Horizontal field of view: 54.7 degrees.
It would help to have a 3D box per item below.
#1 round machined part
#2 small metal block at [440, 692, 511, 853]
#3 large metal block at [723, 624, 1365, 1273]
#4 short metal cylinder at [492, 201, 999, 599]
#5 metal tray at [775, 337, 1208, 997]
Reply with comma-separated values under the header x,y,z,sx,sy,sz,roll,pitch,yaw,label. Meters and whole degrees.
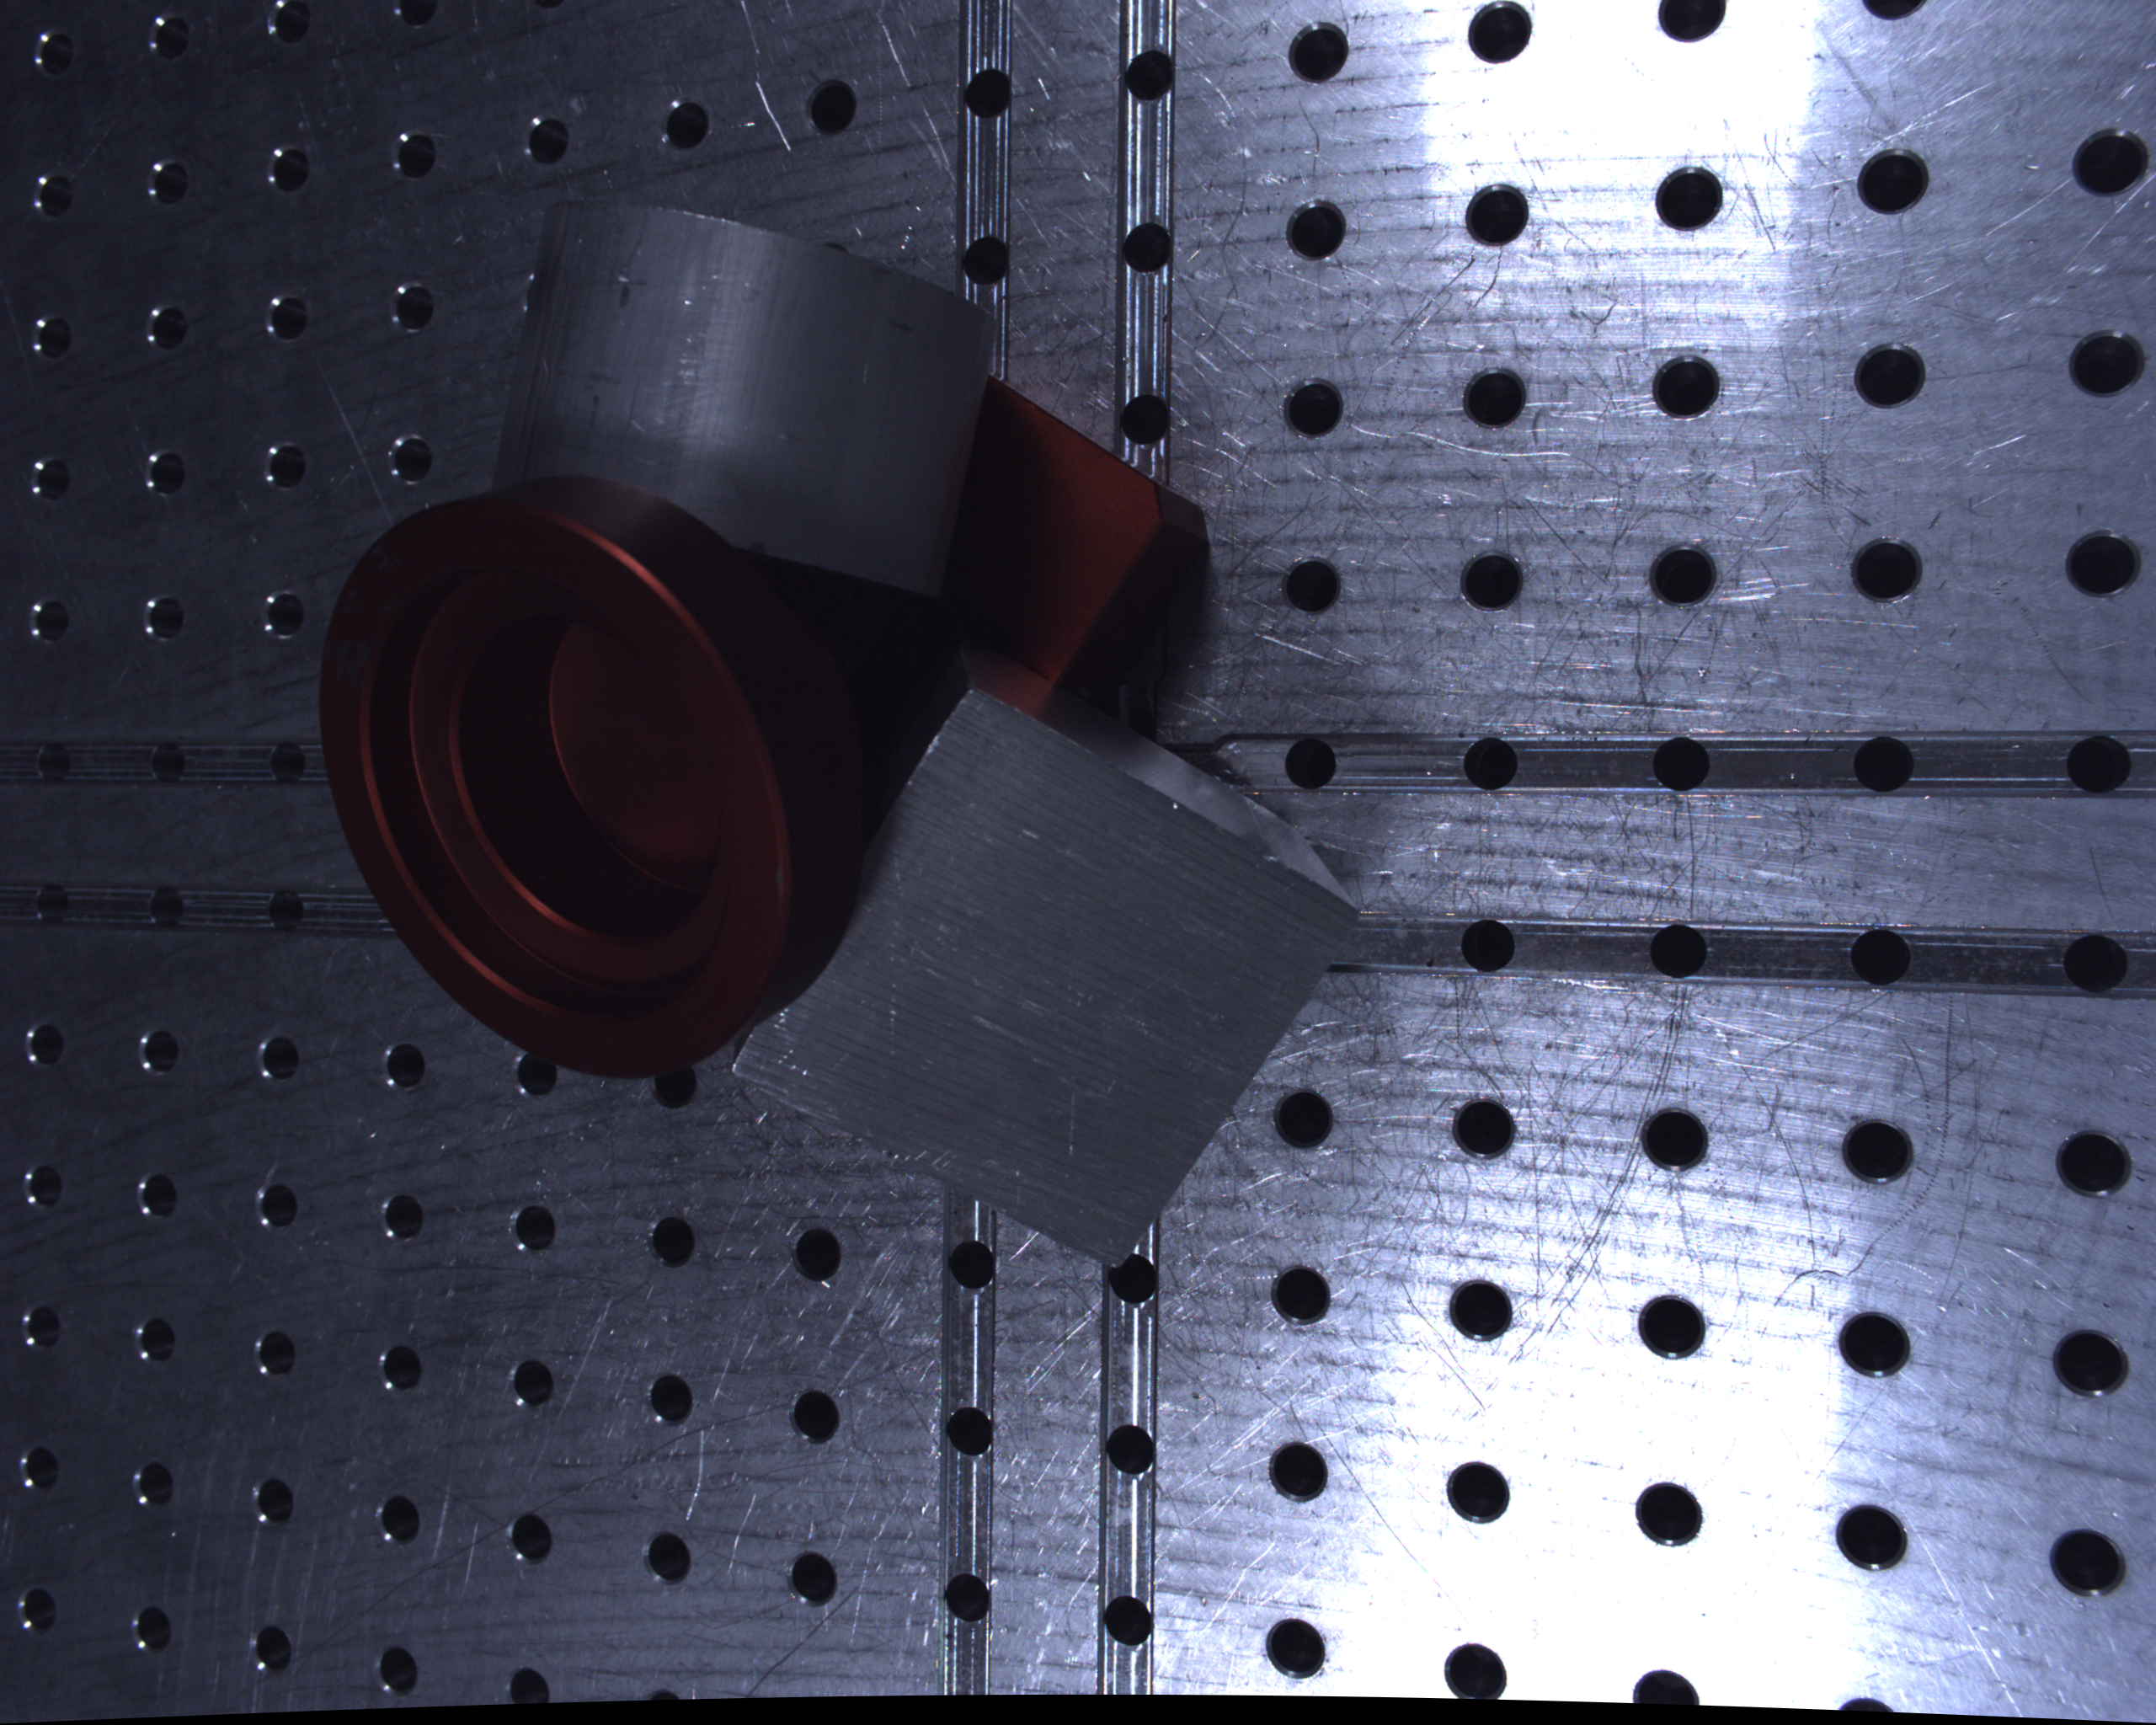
x,y,z,sx,sy,sz,roll,pitch,yaw,label
-0.076,-0.017,0.350,0.098,0.042,0.097,12,116,27,round machined part
-0.105,-0.027,0.402,0.025,0.050,0.050,20,97,18,small metal block
-0.008,0.015,0.382,0.080,0.050,0.080,30,101,-14,large metal block
-0.059,-0.080,0.371,0.080,0.080,0.050,14,95,19,short metal cylinder
-0.046,-0.040,0.426,0.090,0.030,0.129,36,101,16,metal tray
